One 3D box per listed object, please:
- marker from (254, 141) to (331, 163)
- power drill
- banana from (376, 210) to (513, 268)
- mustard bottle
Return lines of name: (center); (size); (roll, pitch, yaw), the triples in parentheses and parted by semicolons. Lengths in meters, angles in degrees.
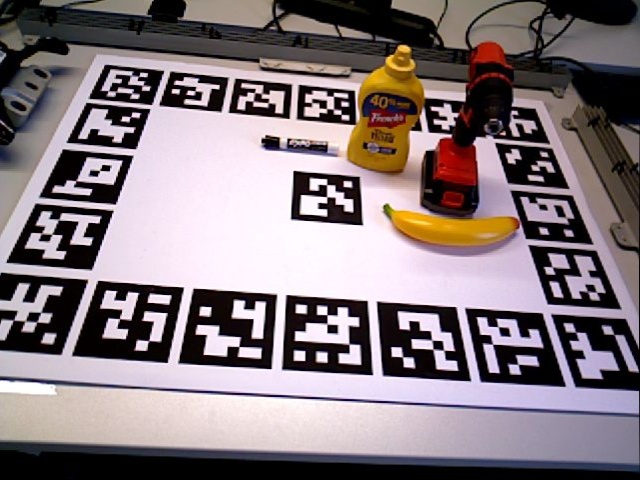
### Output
marker: (-0.043, -0.138, 0.851); (0.120, 0.020, 0.019); (7, 52, -2)
power drill: (0.196, -0.123, 0.736); (0.057, 0.191, 0.180); (17, 48, 3)
banana: (0.172, 0.004, 0.757); (0.197, 0.040, 0.073); (11, 53, 3)
mustard bottle: (0.092, -0.173, 0.784); (0.096, 0.196, 0.057); (15, 50, 2)
